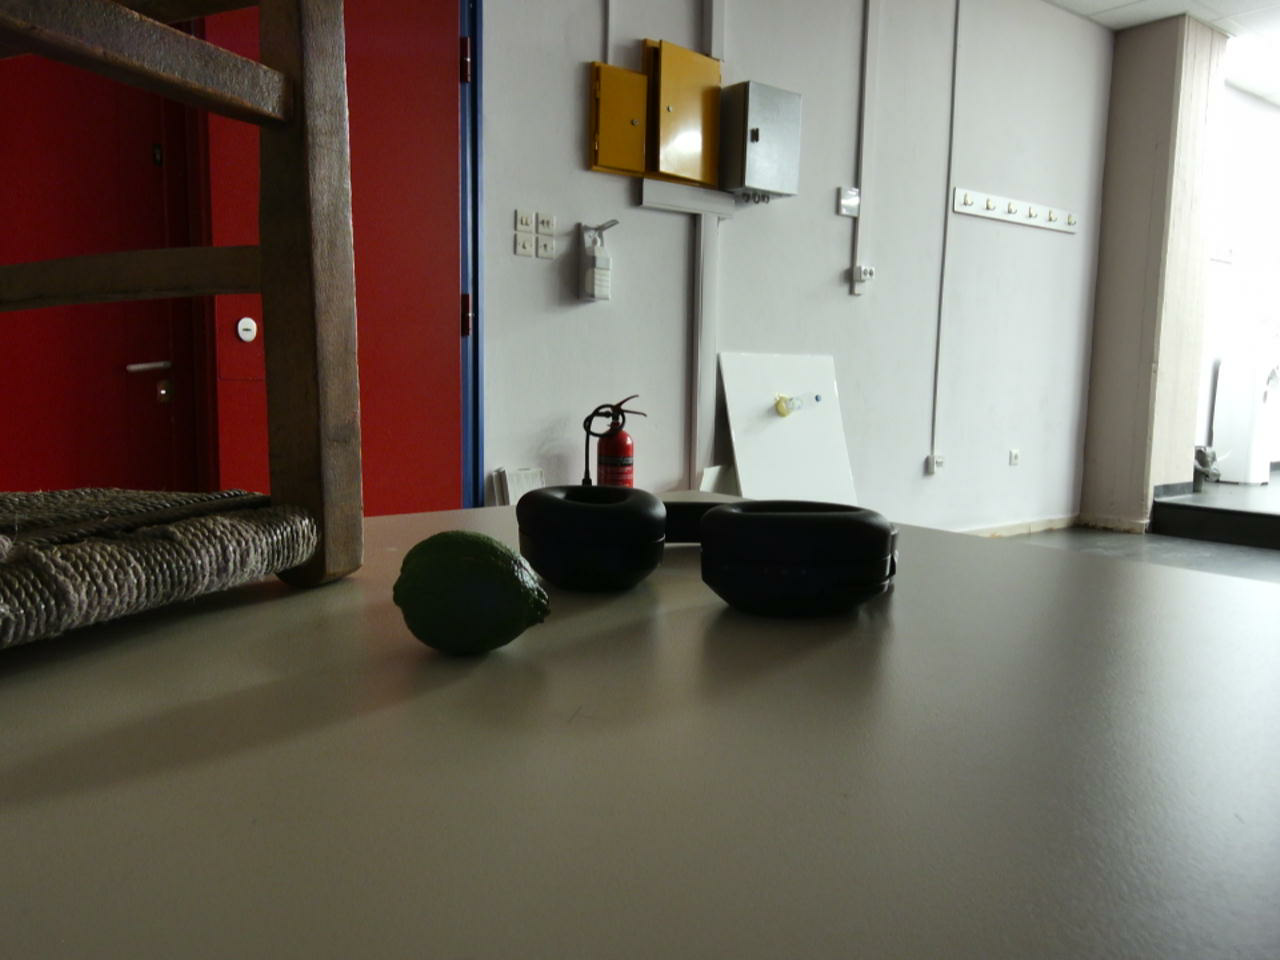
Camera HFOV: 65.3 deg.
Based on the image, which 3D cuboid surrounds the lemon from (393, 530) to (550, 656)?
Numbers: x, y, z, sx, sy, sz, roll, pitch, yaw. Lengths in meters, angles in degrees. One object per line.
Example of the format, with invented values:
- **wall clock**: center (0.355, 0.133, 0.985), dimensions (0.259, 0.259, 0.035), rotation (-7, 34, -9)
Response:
- **lemon**: center (-0.073, 0.046, 0.416), dimensions (0.057, 0.051, 0.054), rotation (-3, 5, -42)
